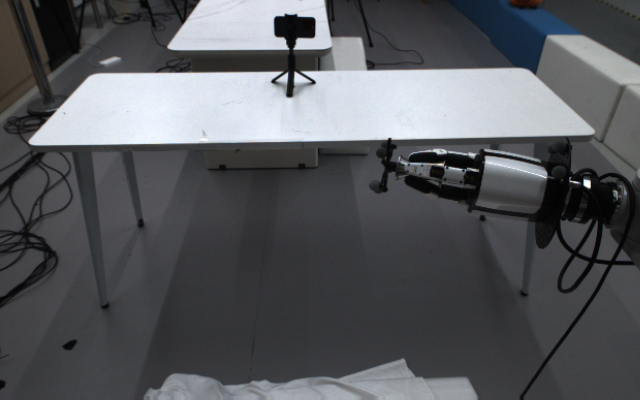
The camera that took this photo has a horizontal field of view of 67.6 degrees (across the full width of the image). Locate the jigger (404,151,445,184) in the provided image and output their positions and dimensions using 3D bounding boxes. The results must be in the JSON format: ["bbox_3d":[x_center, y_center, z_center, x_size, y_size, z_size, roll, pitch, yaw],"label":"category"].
[{"bbox_3d":[0.157,-0.048,0.728,0.071,0.043,0.043,10,35,16],"label":"jigger"}]
